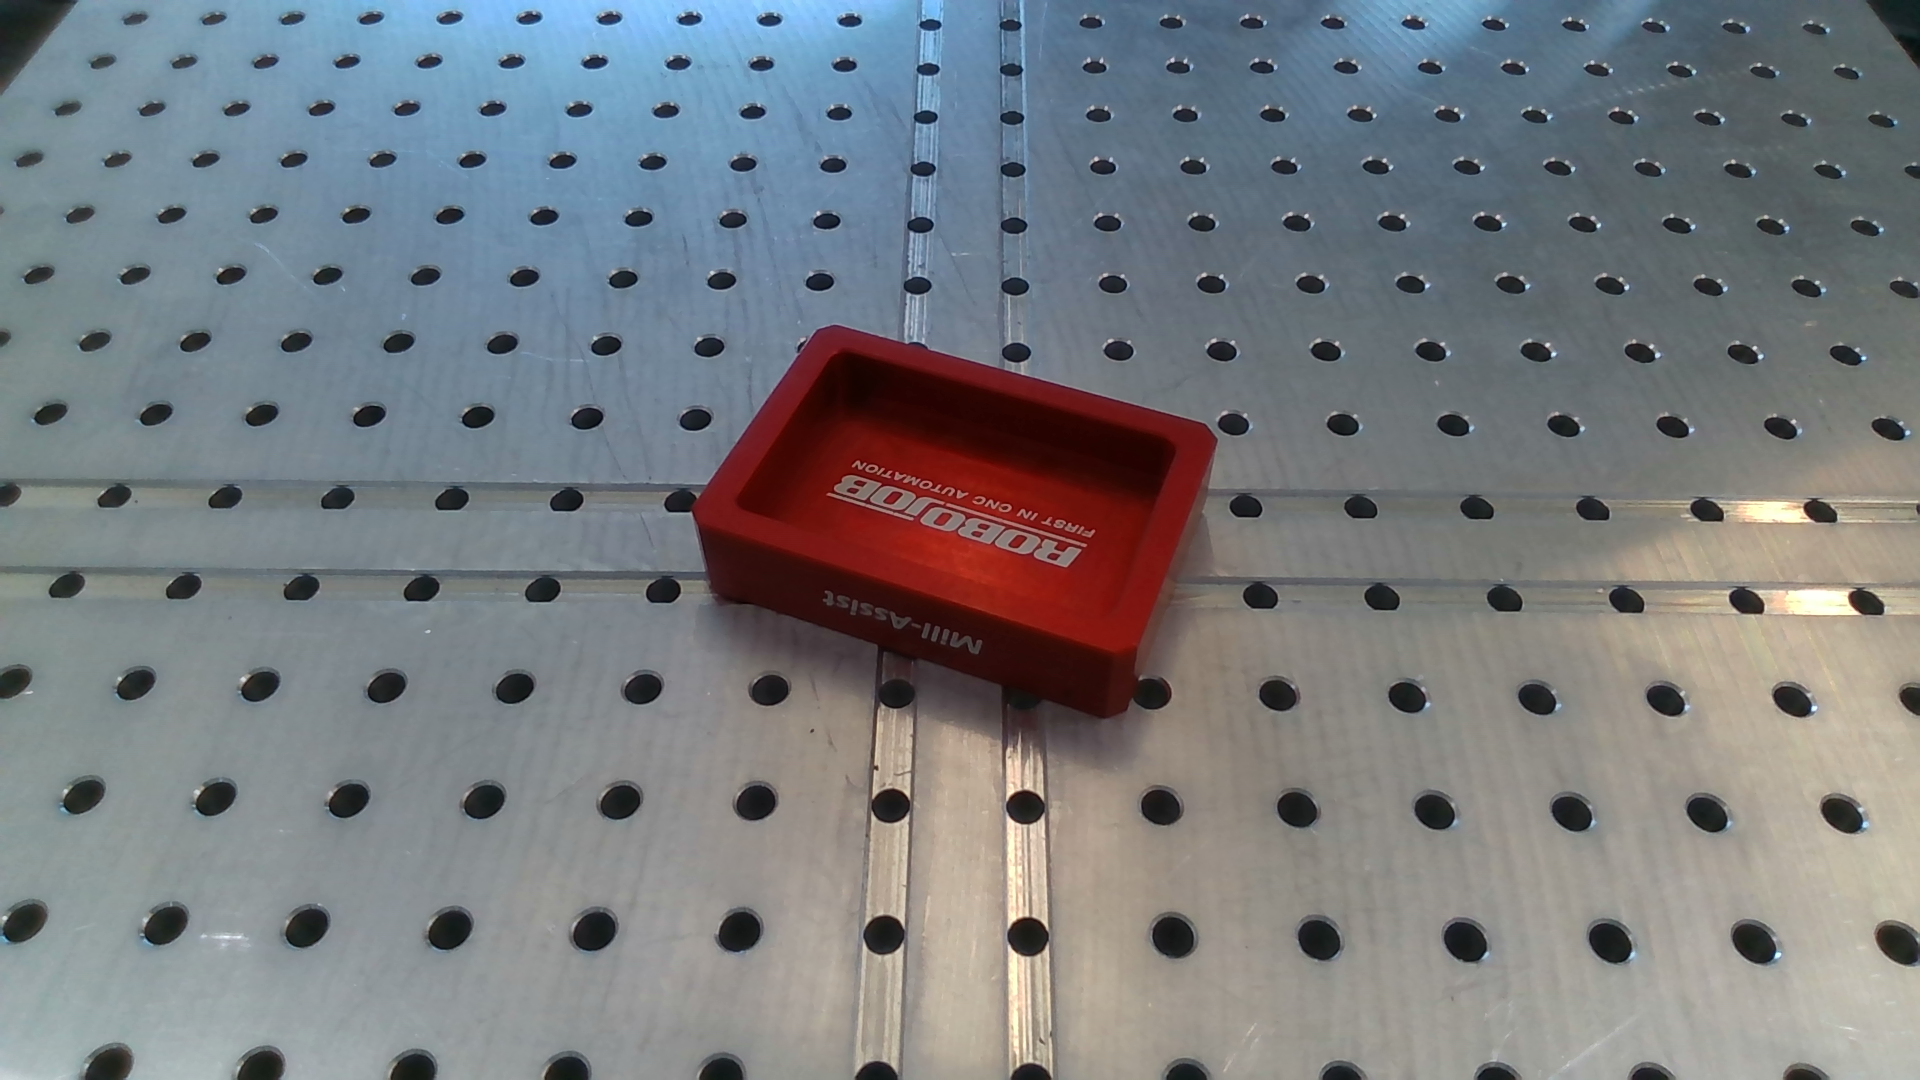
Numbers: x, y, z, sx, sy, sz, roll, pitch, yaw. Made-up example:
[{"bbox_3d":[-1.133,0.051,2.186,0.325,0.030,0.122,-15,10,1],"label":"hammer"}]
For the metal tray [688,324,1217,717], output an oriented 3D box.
[{"bbox_3d":[0.000,-0.010,0.402,0.130,0.030,0.090,17,53,14],"label":"metal tray"}]
